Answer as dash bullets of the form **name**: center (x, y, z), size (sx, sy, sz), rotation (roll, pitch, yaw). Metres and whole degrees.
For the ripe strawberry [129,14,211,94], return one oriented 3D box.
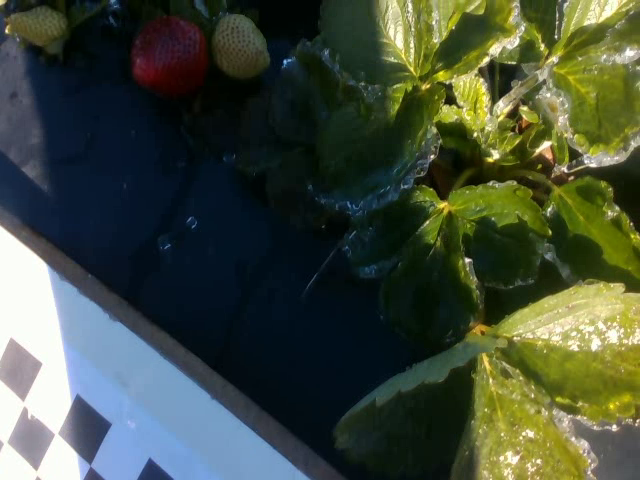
- **ripe strawberry**: center (-0.074, -0.082, 0.273), size (0.040, 0.042, 0.053), rotation (-5, 28, 18)
